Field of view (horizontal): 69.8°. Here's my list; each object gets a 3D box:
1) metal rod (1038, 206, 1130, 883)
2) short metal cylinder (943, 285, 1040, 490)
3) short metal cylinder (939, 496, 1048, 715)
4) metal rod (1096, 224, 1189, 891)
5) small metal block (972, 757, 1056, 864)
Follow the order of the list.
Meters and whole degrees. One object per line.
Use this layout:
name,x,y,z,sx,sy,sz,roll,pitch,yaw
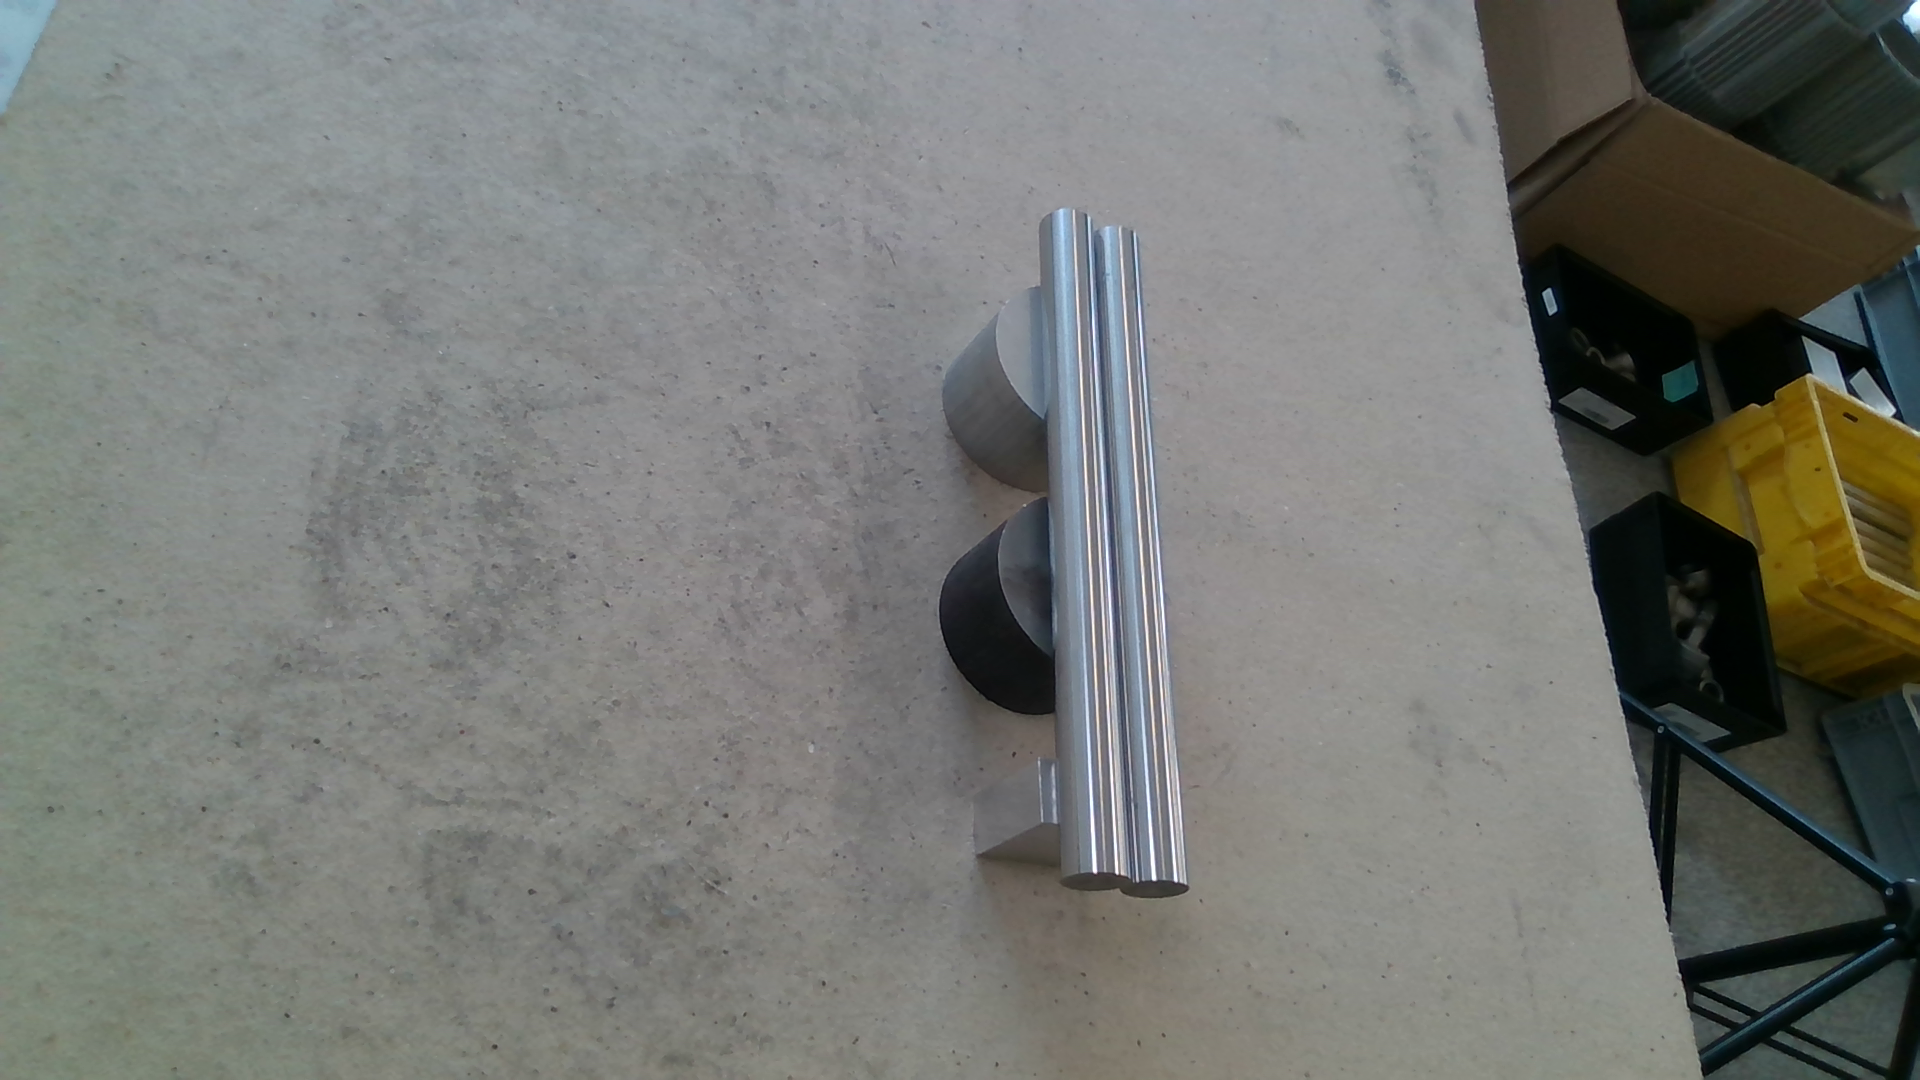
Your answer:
metal rod,0.047,-0.012,0.557,0.025,0.025,0.299,14,59,-25
short metal cylinder,0.039,-0.070,0.631,0.080,0.050,0.080,14,59,-25
short metal cylinder,0.038,0.027,0.580,0.080,0.050,0.080,14,59,-25
metal rod,0.071,-0.007,0.568,0.025,0.025,0.299,14,59,-25
small metal block,0.039,0.107,0.538,0.050,0.050,0.025,13,59,-26
